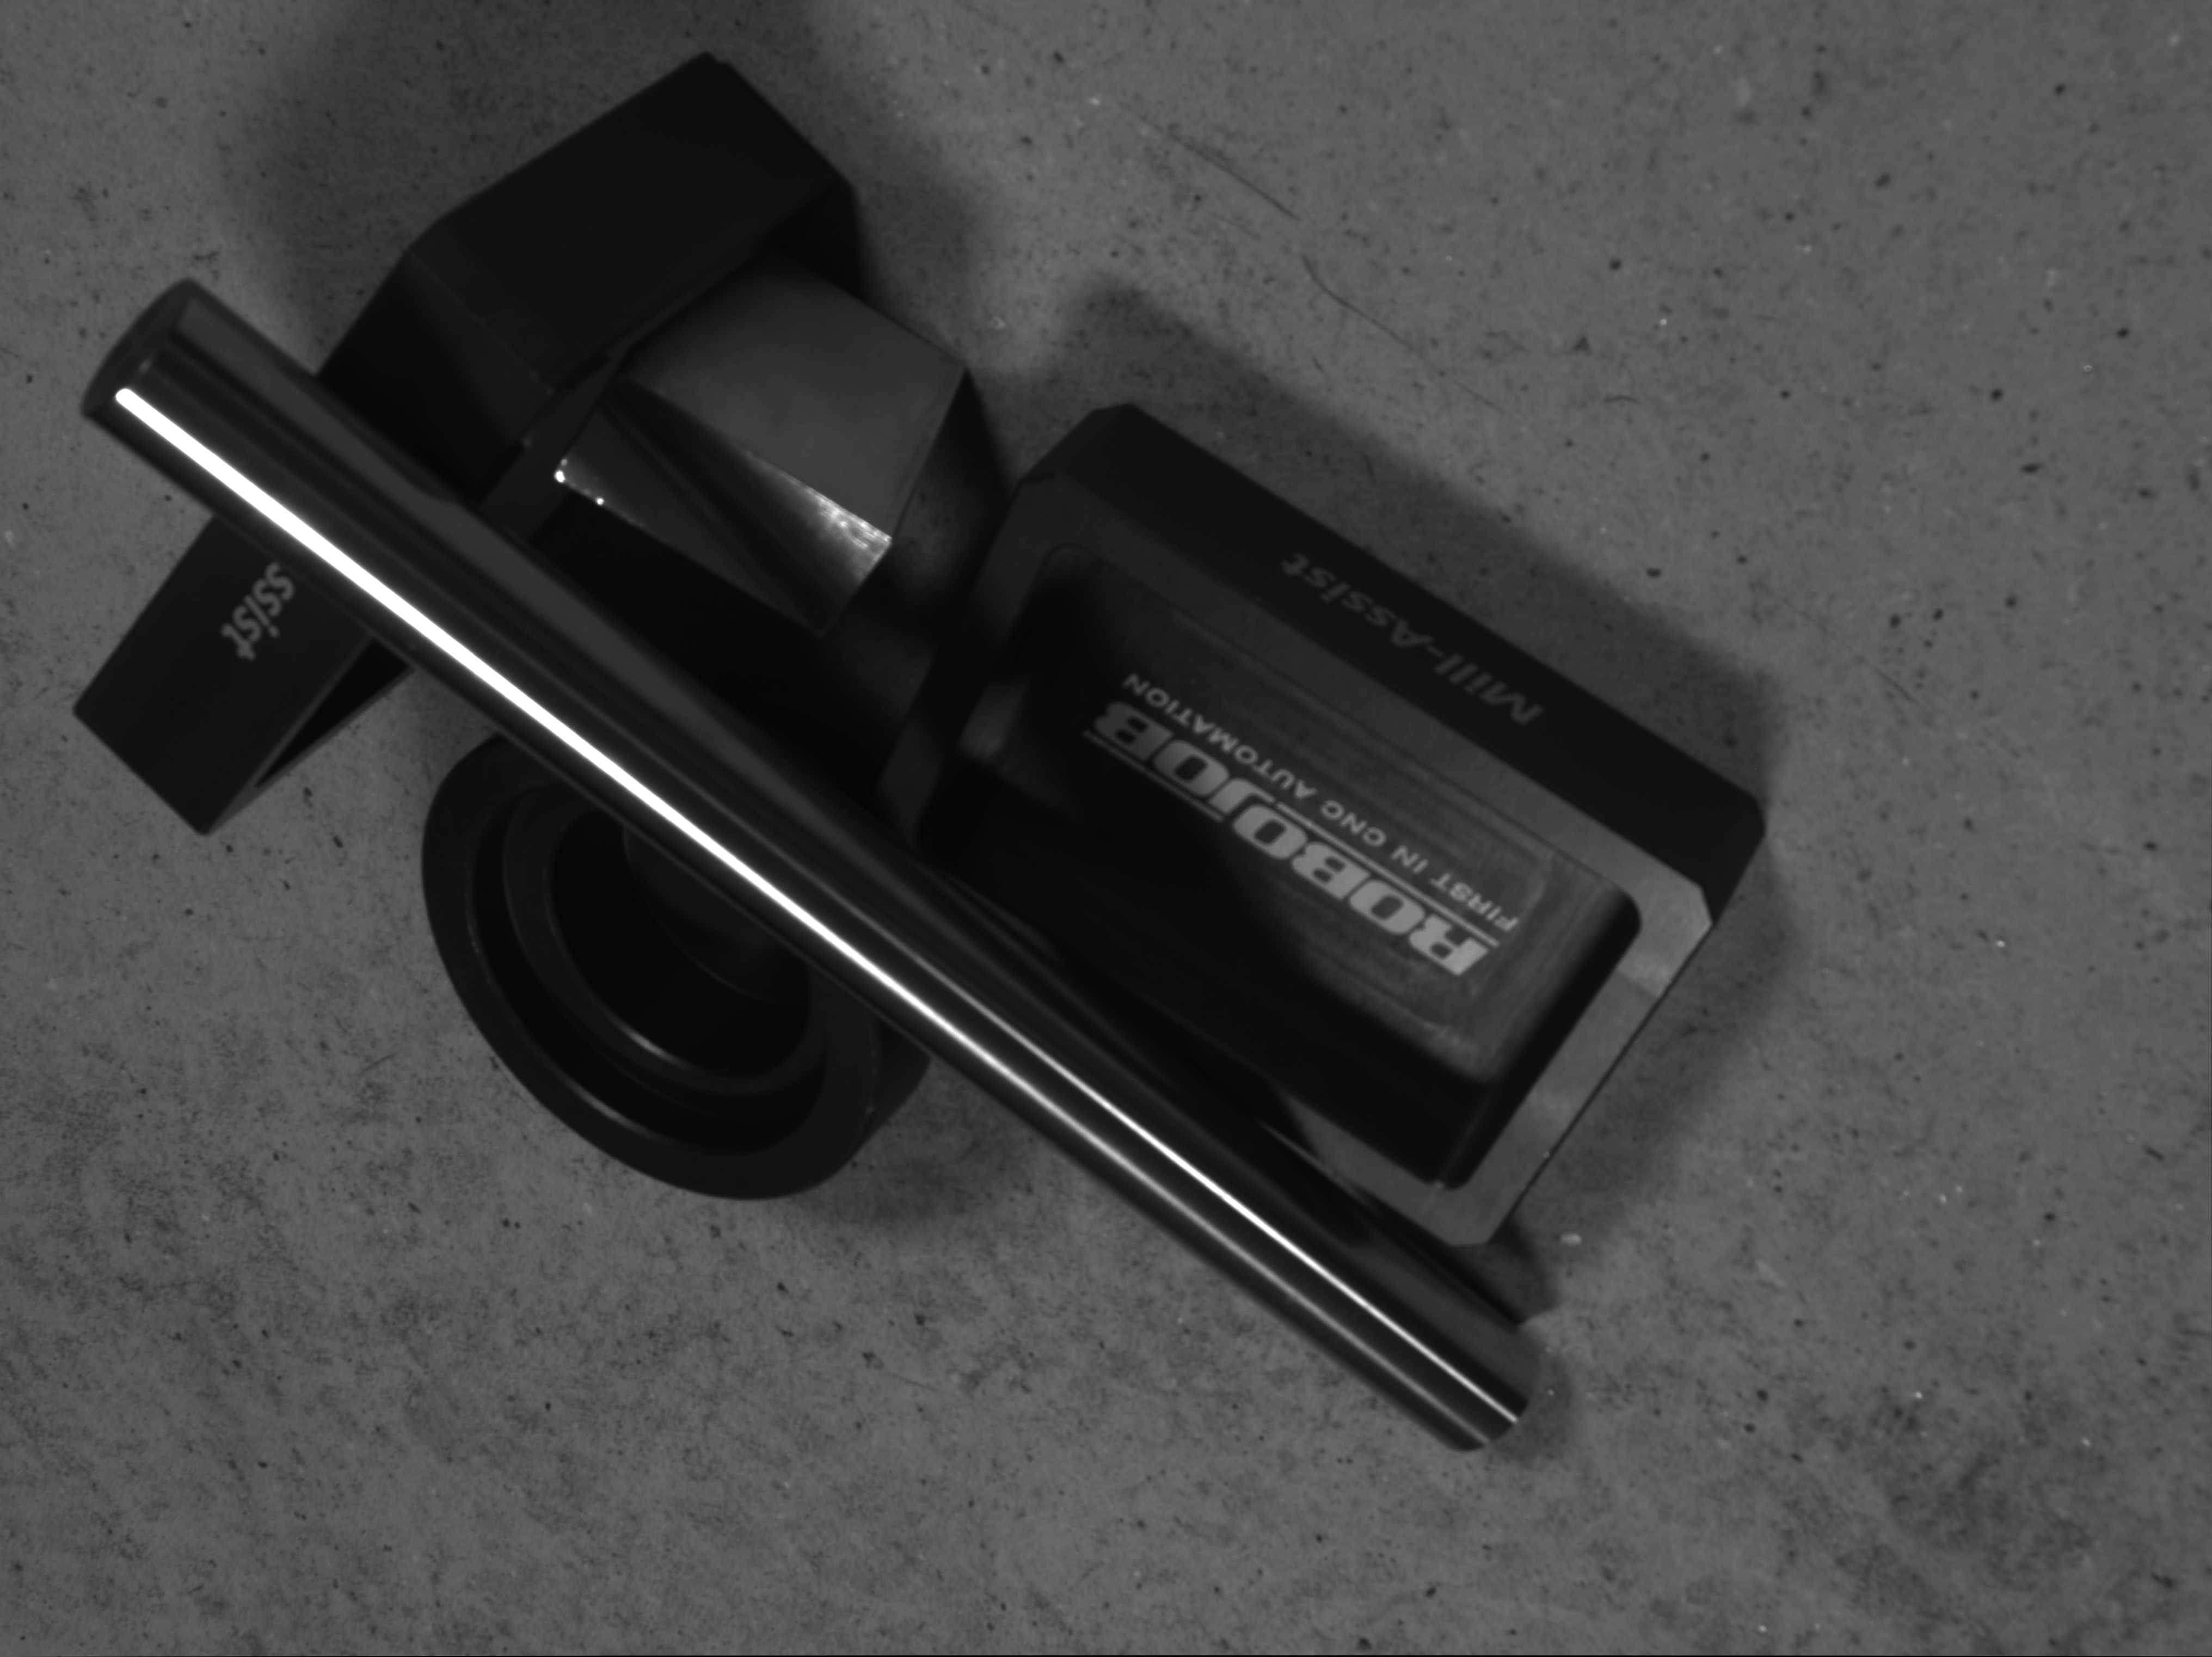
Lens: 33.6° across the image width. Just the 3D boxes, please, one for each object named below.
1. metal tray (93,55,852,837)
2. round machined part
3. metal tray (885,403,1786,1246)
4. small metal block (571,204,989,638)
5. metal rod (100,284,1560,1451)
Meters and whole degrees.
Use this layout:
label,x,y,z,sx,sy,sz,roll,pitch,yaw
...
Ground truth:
label,x,y,z,sx,sy,sz,roll,pitch,yaw
metal tray,-0.105,-0.062,0.604,0.030,0.090,0.130,44,128,-3
round machined part,-0.068,0.015,0.659,0.098,0.042,0.098,18,130,23
metal tray,0.035,0.001,0.611,0.130,0.030,0.090,33,128,5
small metal block,-0.052,-0.067,0.595,0.050,0.050,0.025,31,131,-11
metal rod,-0.031,0.017,0.589,0.025,0.025,0.301,-29,125,36
